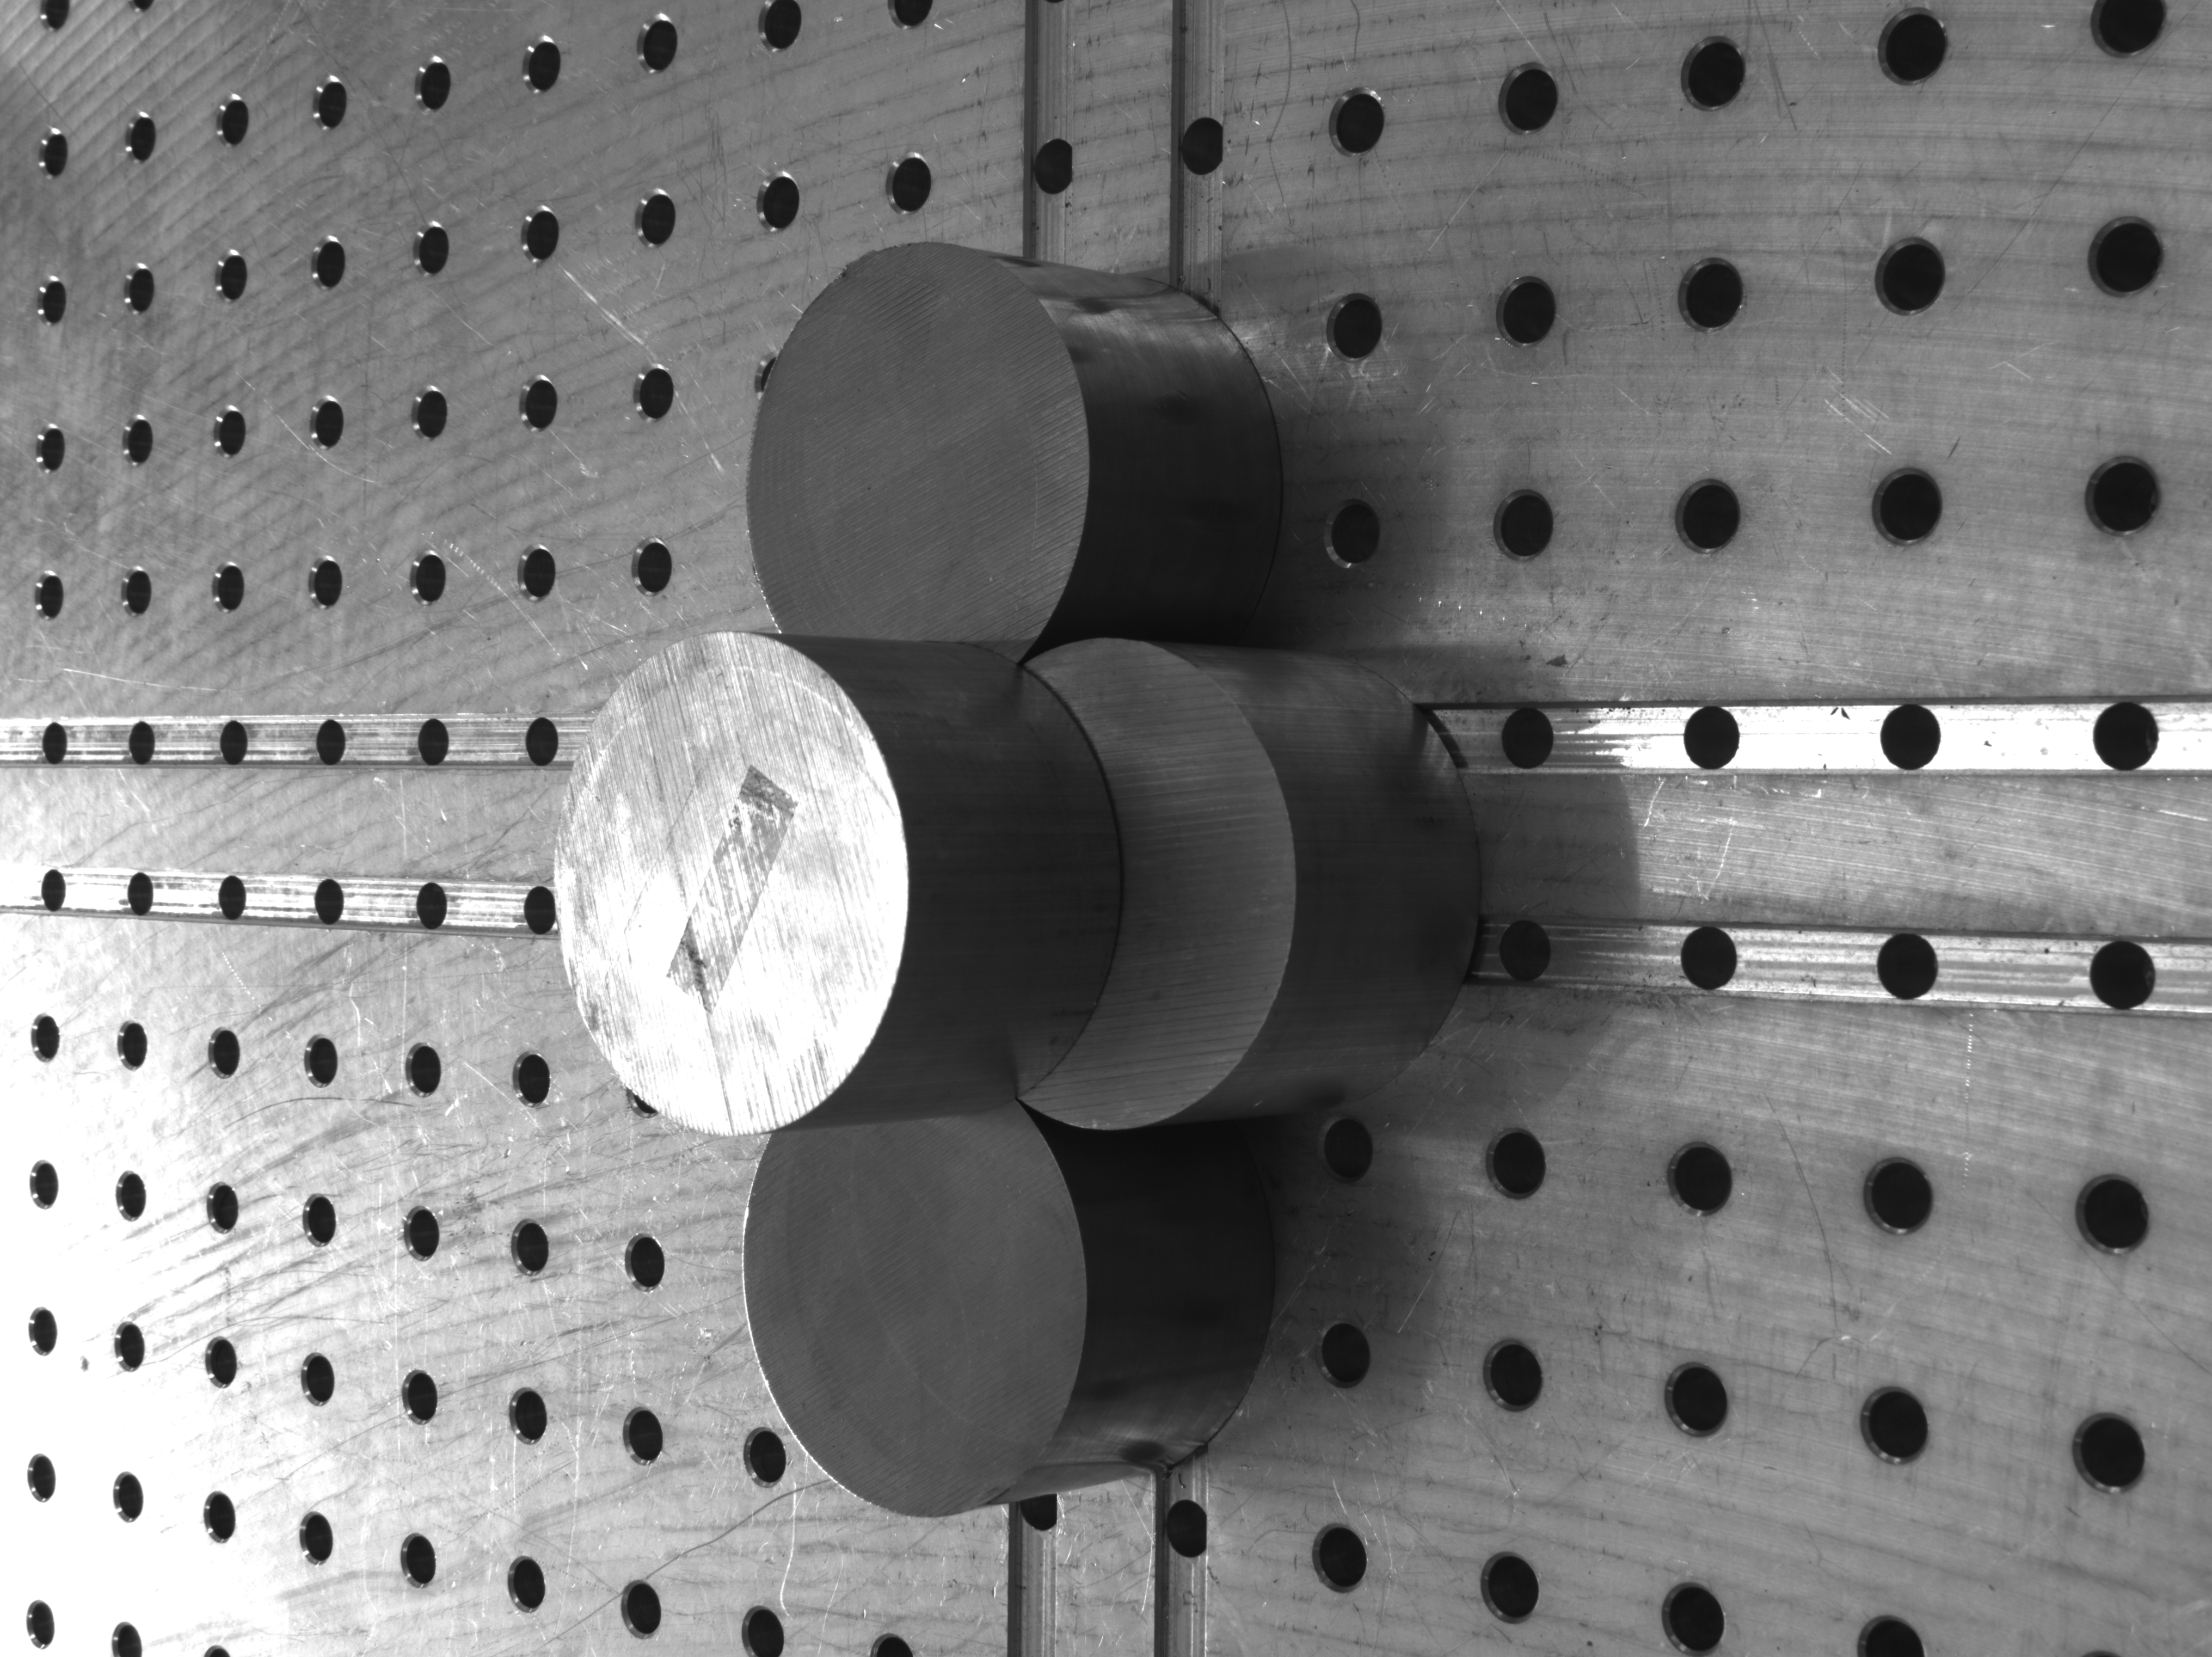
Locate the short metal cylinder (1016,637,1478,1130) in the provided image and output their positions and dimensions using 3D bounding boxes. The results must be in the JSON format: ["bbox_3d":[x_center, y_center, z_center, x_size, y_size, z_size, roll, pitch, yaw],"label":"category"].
[{"bbox_3d":[0.015,0.009,0.618,0.080,0.050,0.080,0,90,40],"label":"short metal cylinder"}]

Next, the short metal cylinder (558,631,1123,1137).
[{"bbox_3d":[-0.044,0.009,0.602,0.080,0.050,0.080,0,90,40],"label":"short metal cylinder"}]

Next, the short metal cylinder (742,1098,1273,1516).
[{"bbox_3d":[-0.018,0.077,0.646,0.080,0.050,0.080,-2,86,40],"label":"short metal cylinder"}]

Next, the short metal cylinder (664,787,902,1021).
[{"bbox_3d":[-0.049,0.009,0.673,0.080,0.050,0.080,0,90,40],"label":"short metal cylinder"}]

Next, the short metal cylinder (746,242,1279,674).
[{"bbox_3d":[-0.017,-0.059,0.646,0.080,0.050,0.080,0,90,39],"label":"short metal cylinder"}]
